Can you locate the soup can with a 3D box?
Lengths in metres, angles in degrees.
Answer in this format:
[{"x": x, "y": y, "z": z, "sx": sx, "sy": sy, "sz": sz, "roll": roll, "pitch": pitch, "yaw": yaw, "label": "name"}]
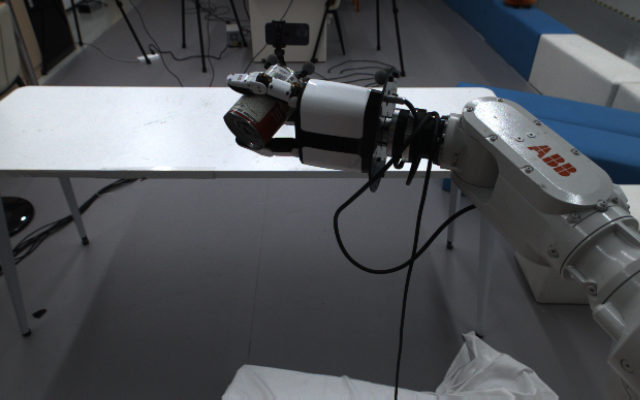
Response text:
[{"x": -0.073, "y": -0.127, "z": 0.662, "sx": 0.067, "sy": 0.067, "sz": 0.101, "roll": 25, "pitch": 66, "yaw": 30, "label": "soup can"}]
